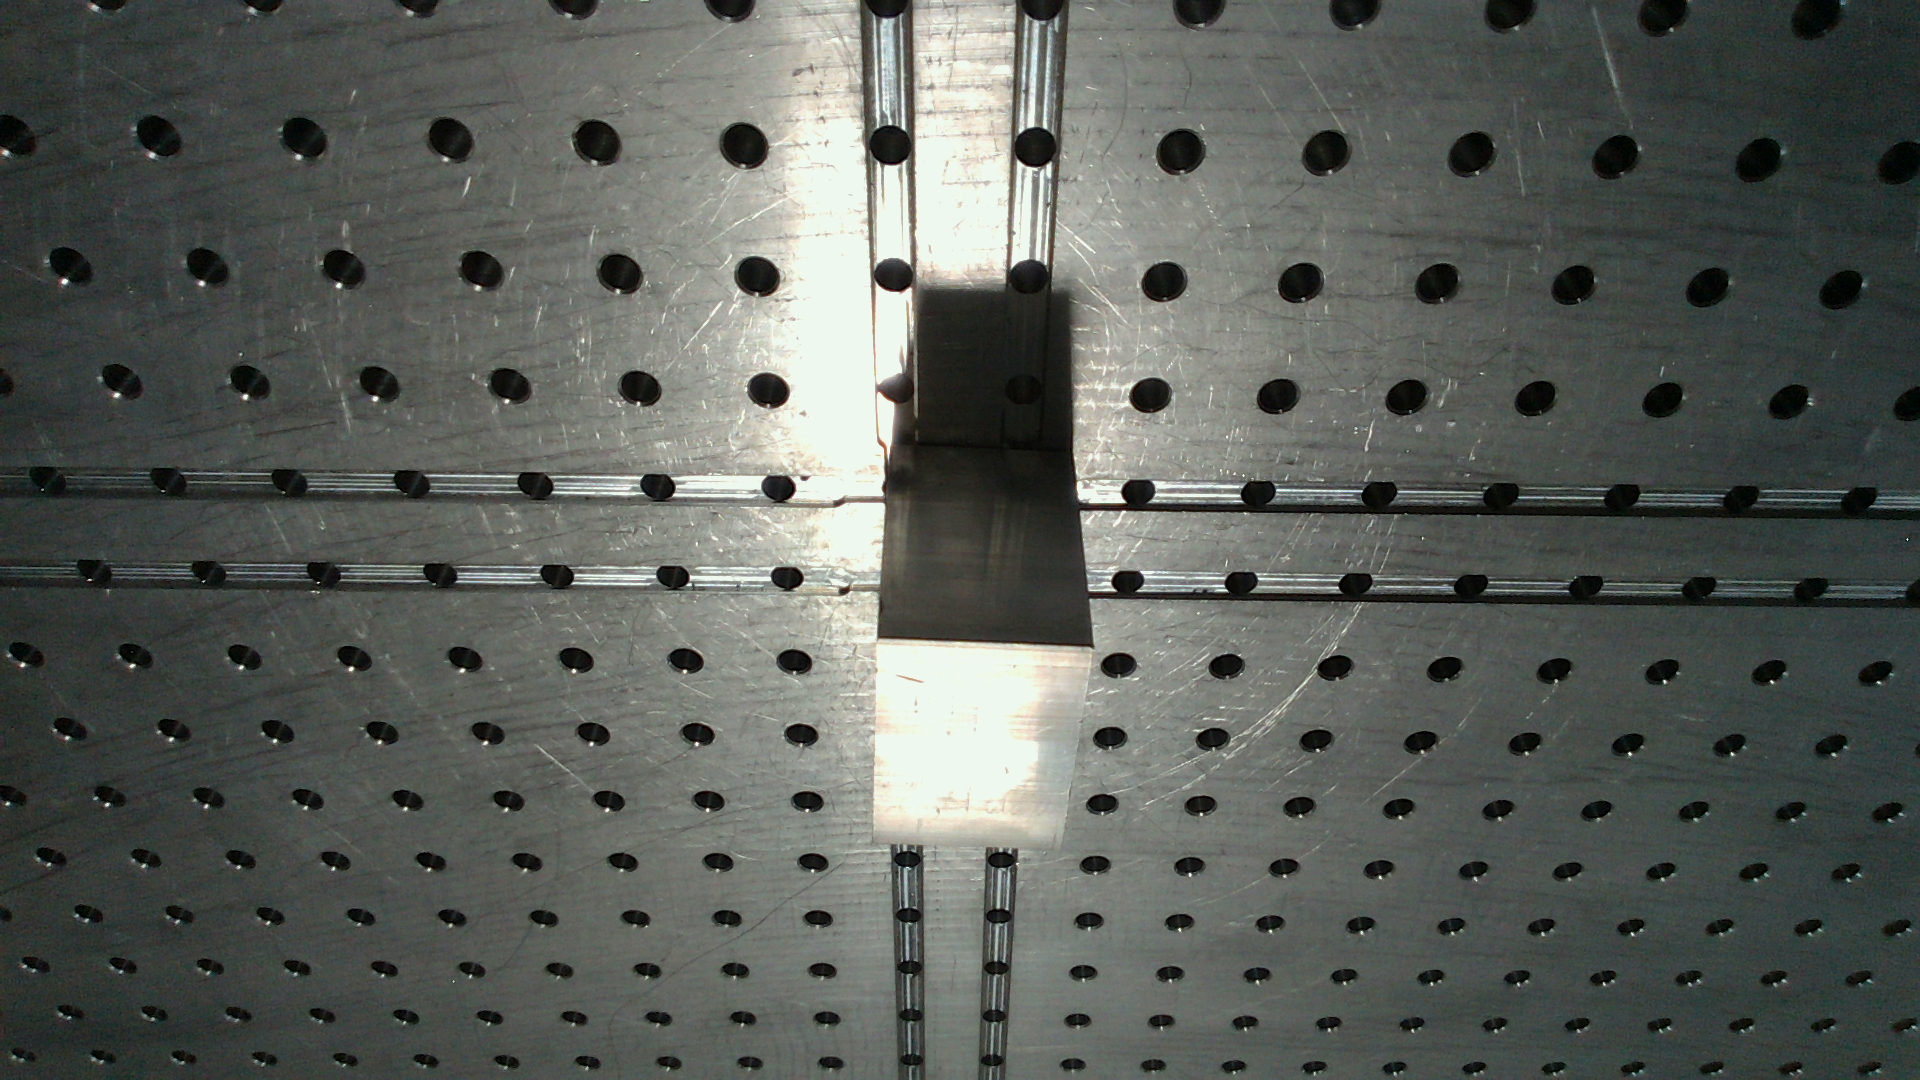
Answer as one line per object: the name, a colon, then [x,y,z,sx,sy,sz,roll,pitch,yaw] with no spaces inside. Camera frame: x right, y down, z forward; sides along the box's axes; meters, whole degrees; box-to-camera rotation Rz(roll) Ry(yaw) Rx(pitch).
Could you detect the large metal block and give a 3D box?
large metal block: [0.004,0.030,0.382,0.050,0.080,0.080,2,130,-2]
